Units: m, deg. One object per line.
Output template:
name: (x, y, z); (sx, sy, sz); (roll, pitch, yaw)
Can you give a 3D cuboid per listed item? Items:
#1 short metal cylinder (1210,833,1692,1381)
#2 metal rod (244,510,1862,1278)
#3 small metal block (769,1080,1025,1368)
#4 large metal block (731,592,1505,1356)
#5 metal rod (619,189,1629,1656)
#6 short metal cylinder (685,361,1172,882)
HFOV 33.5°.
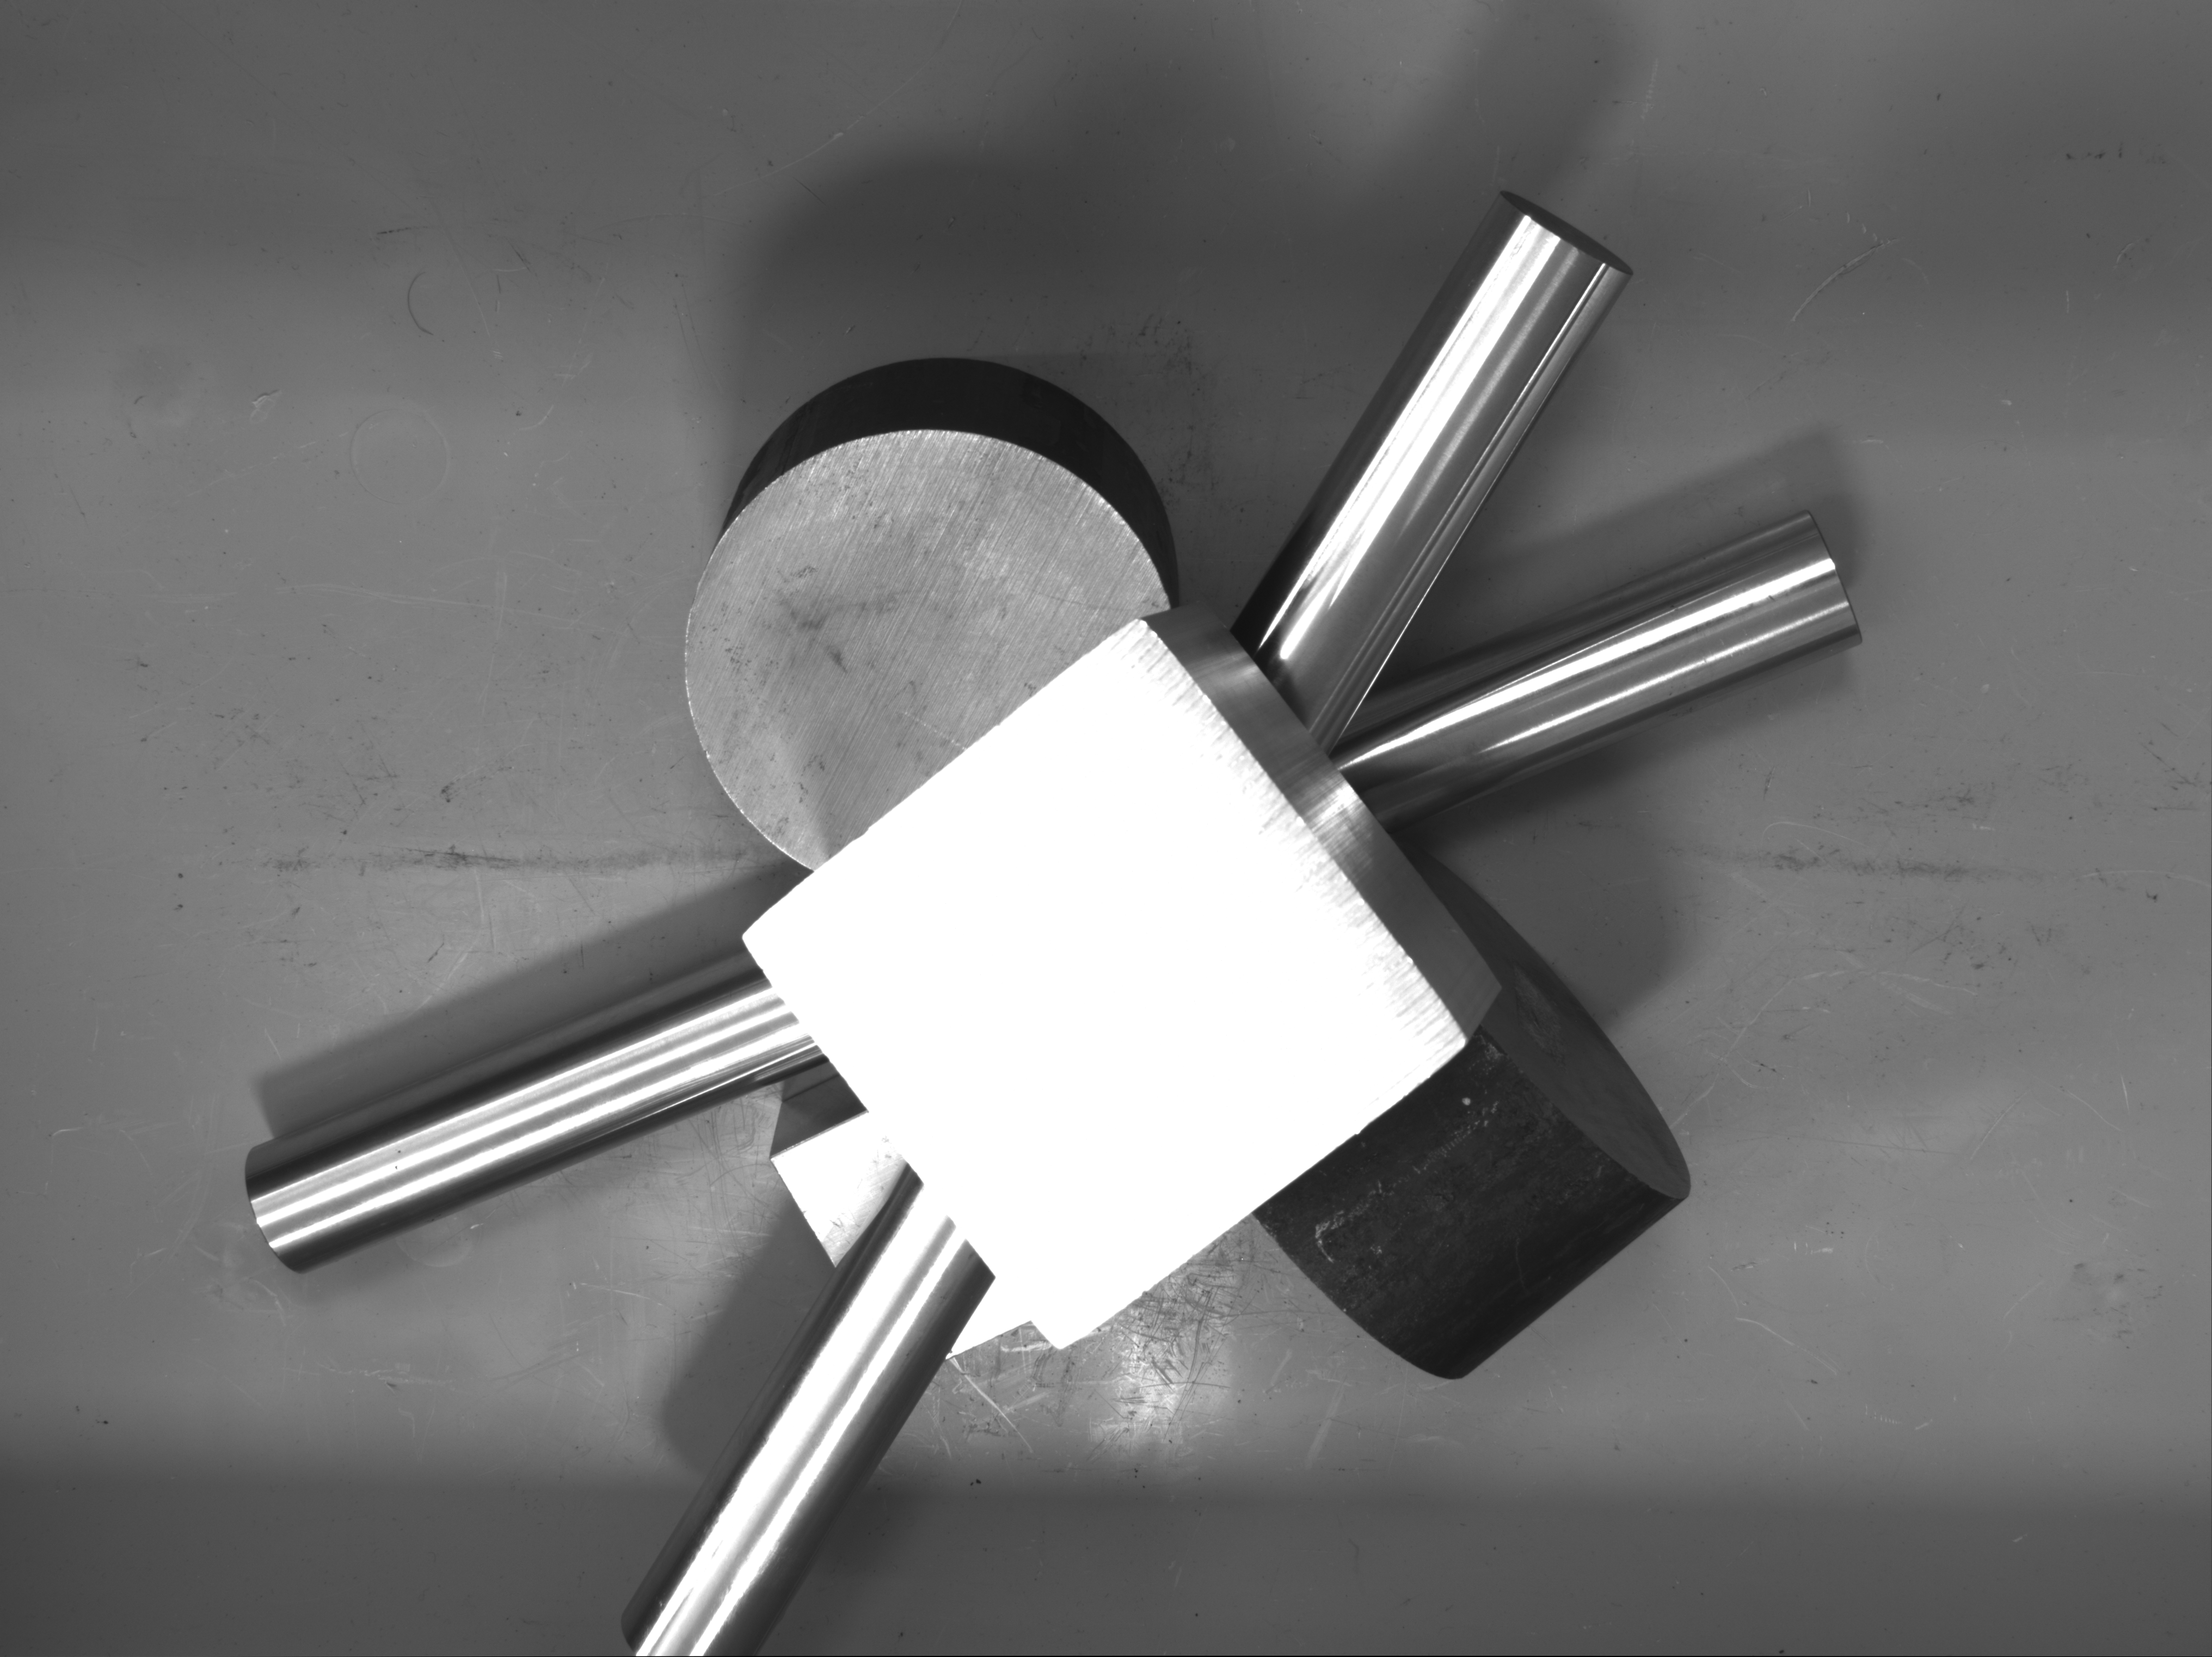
short metal cylinder: (0.055, 0.047, 0.631); (0.050, 0.080, 0.080); (-41, 105, 15)
metal rod: (-0.013, 0.014, 0.648); (0.300, 0.025, 0.025); (-22, 108, 8)
small metal block: (-0.026, 0.065, 0.666); (0.050, 0.025, 0.050); (-27, 108, 9)
large metal block: (0.003, 0.021, 0.570); (0.080, 0.050, 0.080); (-38, 88, 13)
metal rod: (-0.003, 0.027, 0.627); (0.025, 0.025, 0.300); (29, 107, -10)
short metal cylinder: (-0.028, -0.034, 0.617); (0.080, 0.050, 0.080); (0, 110, 0)
